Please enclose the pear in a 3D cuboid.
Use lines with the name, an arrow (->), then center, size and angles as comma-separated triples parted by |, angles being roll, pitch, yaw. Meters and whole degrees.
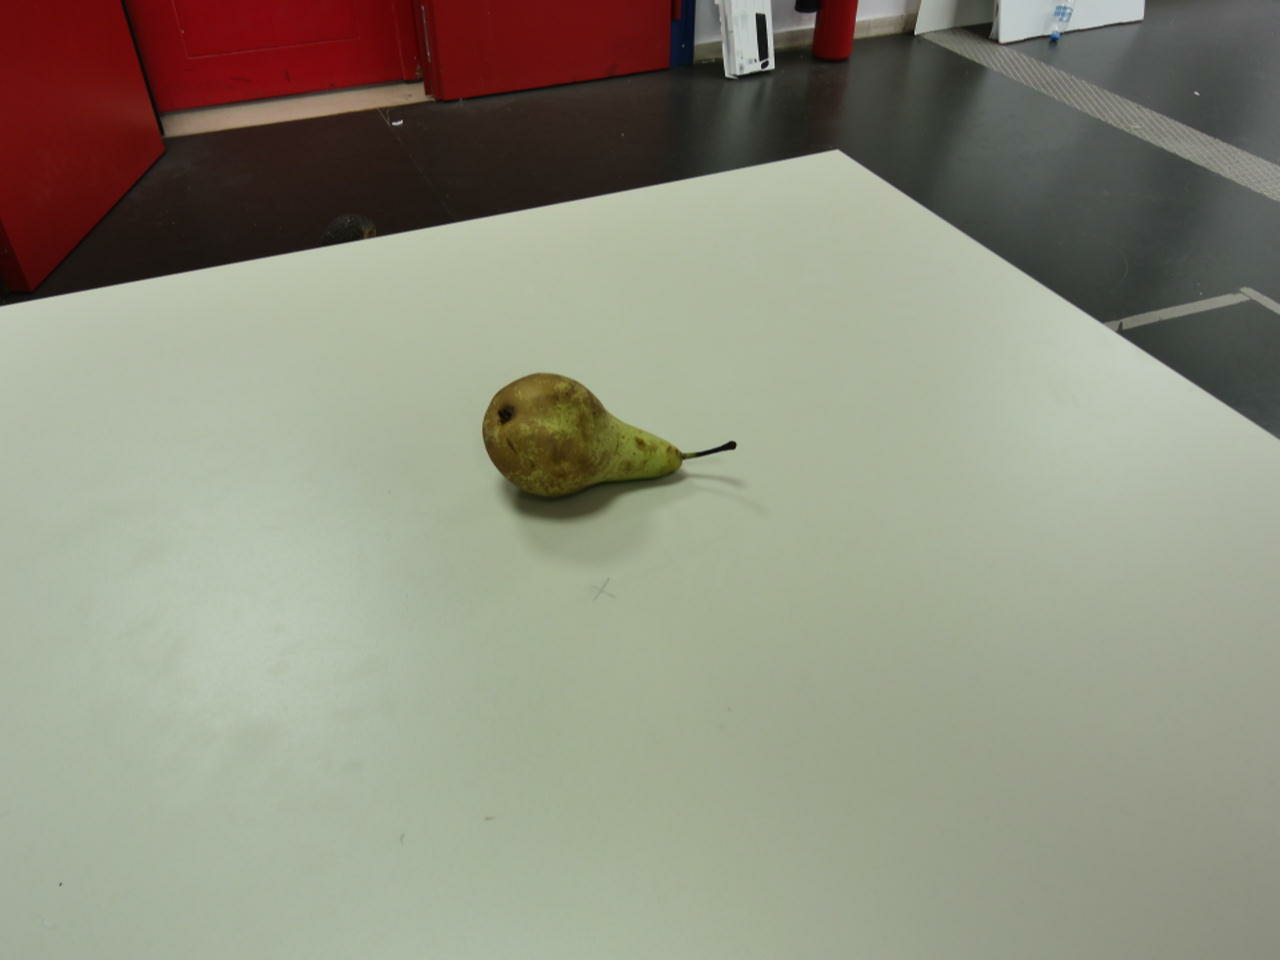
pear -> -0.021, -0.032, 0.593 | 0.144, 0.075, 0.071 | -12, 40, -14
